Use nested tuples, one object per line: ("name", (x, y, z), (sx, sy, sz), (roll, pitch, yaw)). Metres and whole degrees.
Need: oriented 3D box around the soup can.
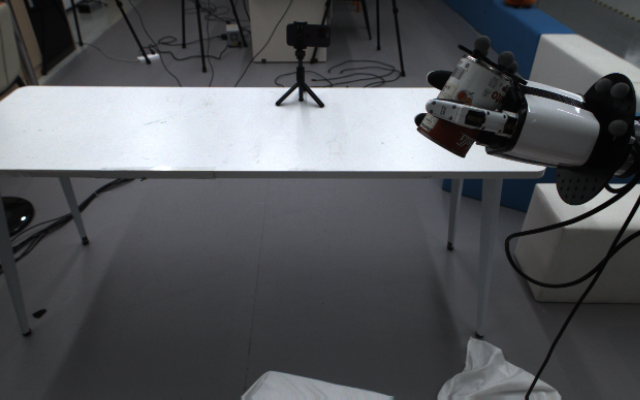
("soup can", (0.172, -0.111, 0.575), (0.067, 0.101, 0.067), (27, 18, -9))
